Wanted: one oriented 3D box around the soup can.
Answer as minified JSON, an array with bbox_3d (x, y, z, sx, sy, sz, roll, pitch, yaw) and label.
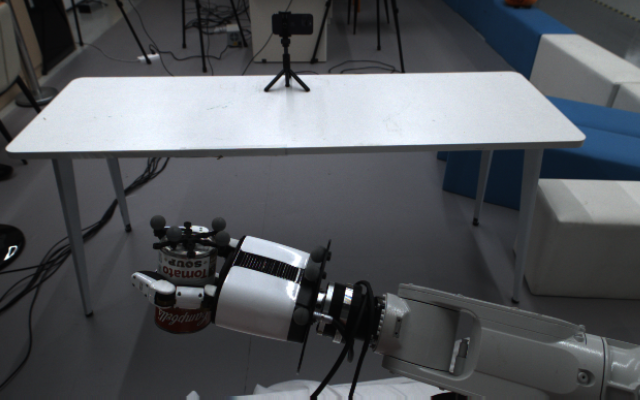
[{"bbox_3d":[-0.157,0.097,0.569,0.067,0.101,0.067,8,19,-3],"label":"soup can"}]
